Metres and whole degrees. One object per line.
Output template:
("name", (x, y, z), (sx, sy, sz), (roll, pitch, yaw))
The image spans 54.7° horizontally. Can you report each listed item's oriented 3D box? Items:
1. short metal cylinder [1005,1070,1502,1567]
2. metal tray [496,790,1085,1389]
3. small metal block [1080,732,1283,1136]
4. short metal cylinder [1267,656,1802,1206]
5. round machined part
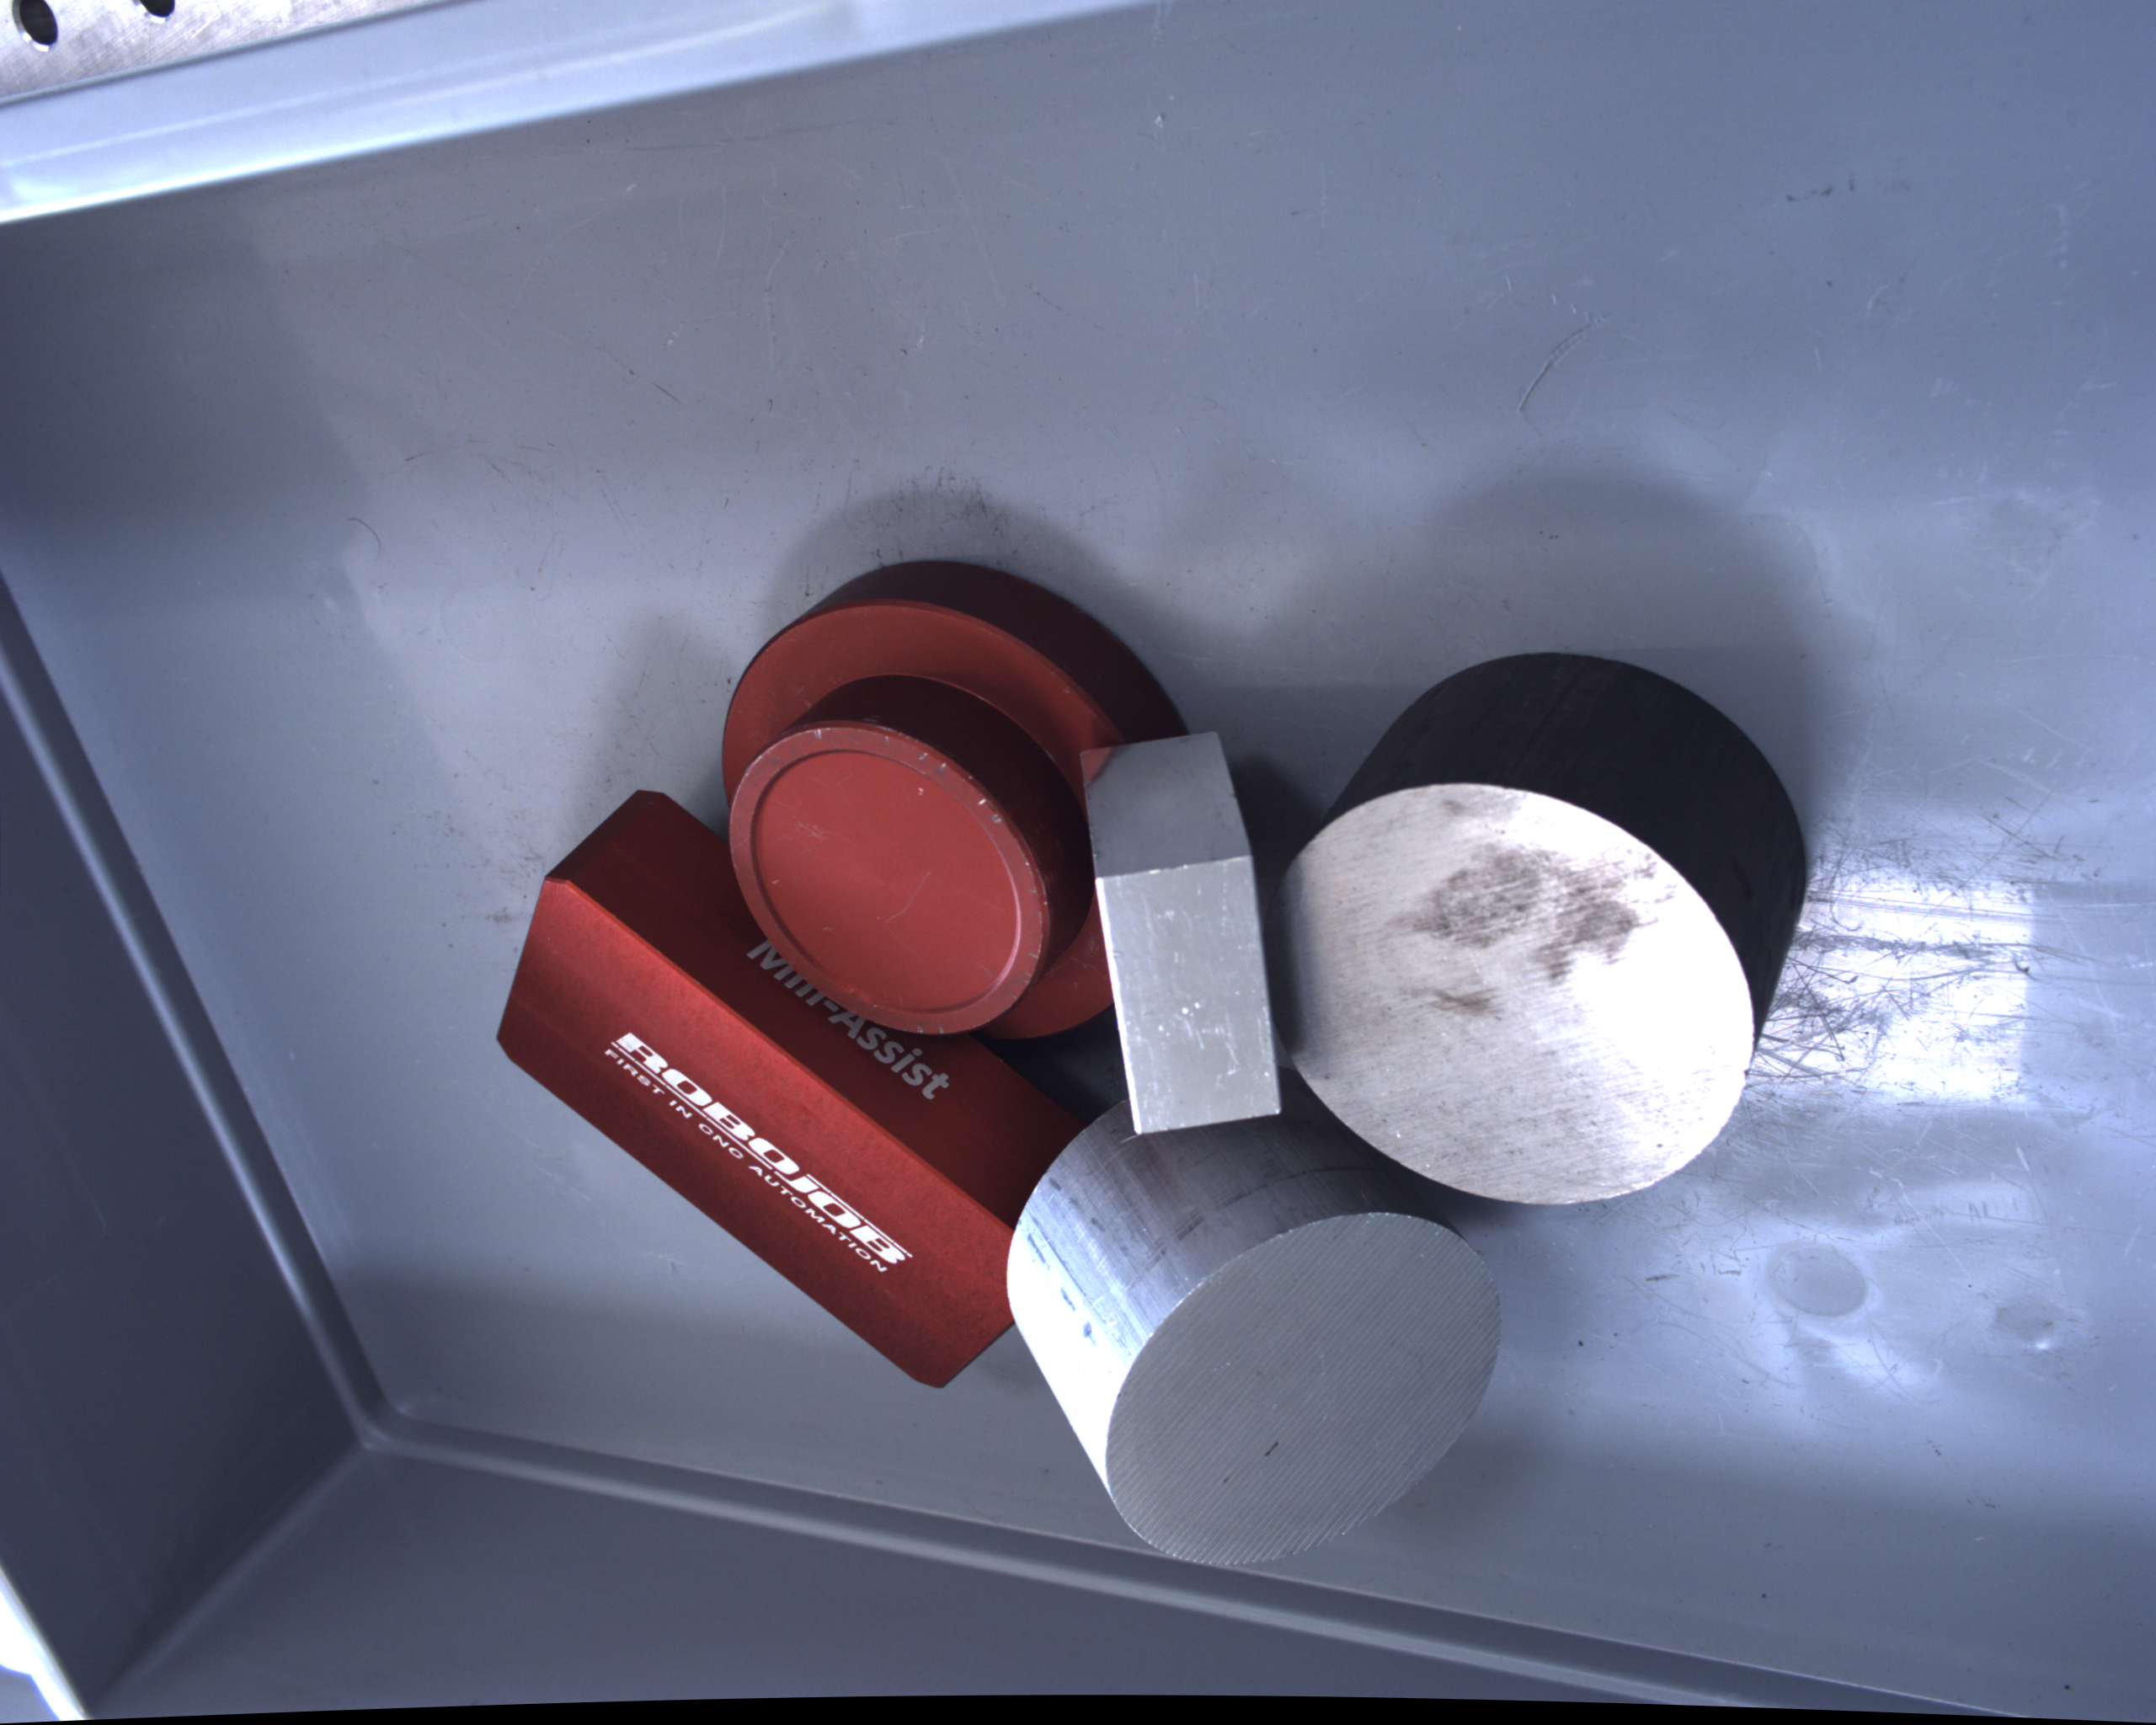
("short metal cylinder", (0.033, 0.086, 0.398), (0.050, 0.081, 0.079), (-131, 31, -55))
("metal tray", (-0.062, 0.053, 0.453), (0.130, 0.030, 0.090), (38, 144, 1))
("small metal block", (0.018, 0.011, 0.364), (0.025, 0.050, 0.050), (-8, 117, 1))
("short metal cylinder", (0.078, 0.011, 0.356), (0.080, 0.050, 0.079), (13, 124, 21))
("round machined part", (-0.028, -0.006, 0.406), (0.098, 0.042, 0.097), (13, 124, 21))
